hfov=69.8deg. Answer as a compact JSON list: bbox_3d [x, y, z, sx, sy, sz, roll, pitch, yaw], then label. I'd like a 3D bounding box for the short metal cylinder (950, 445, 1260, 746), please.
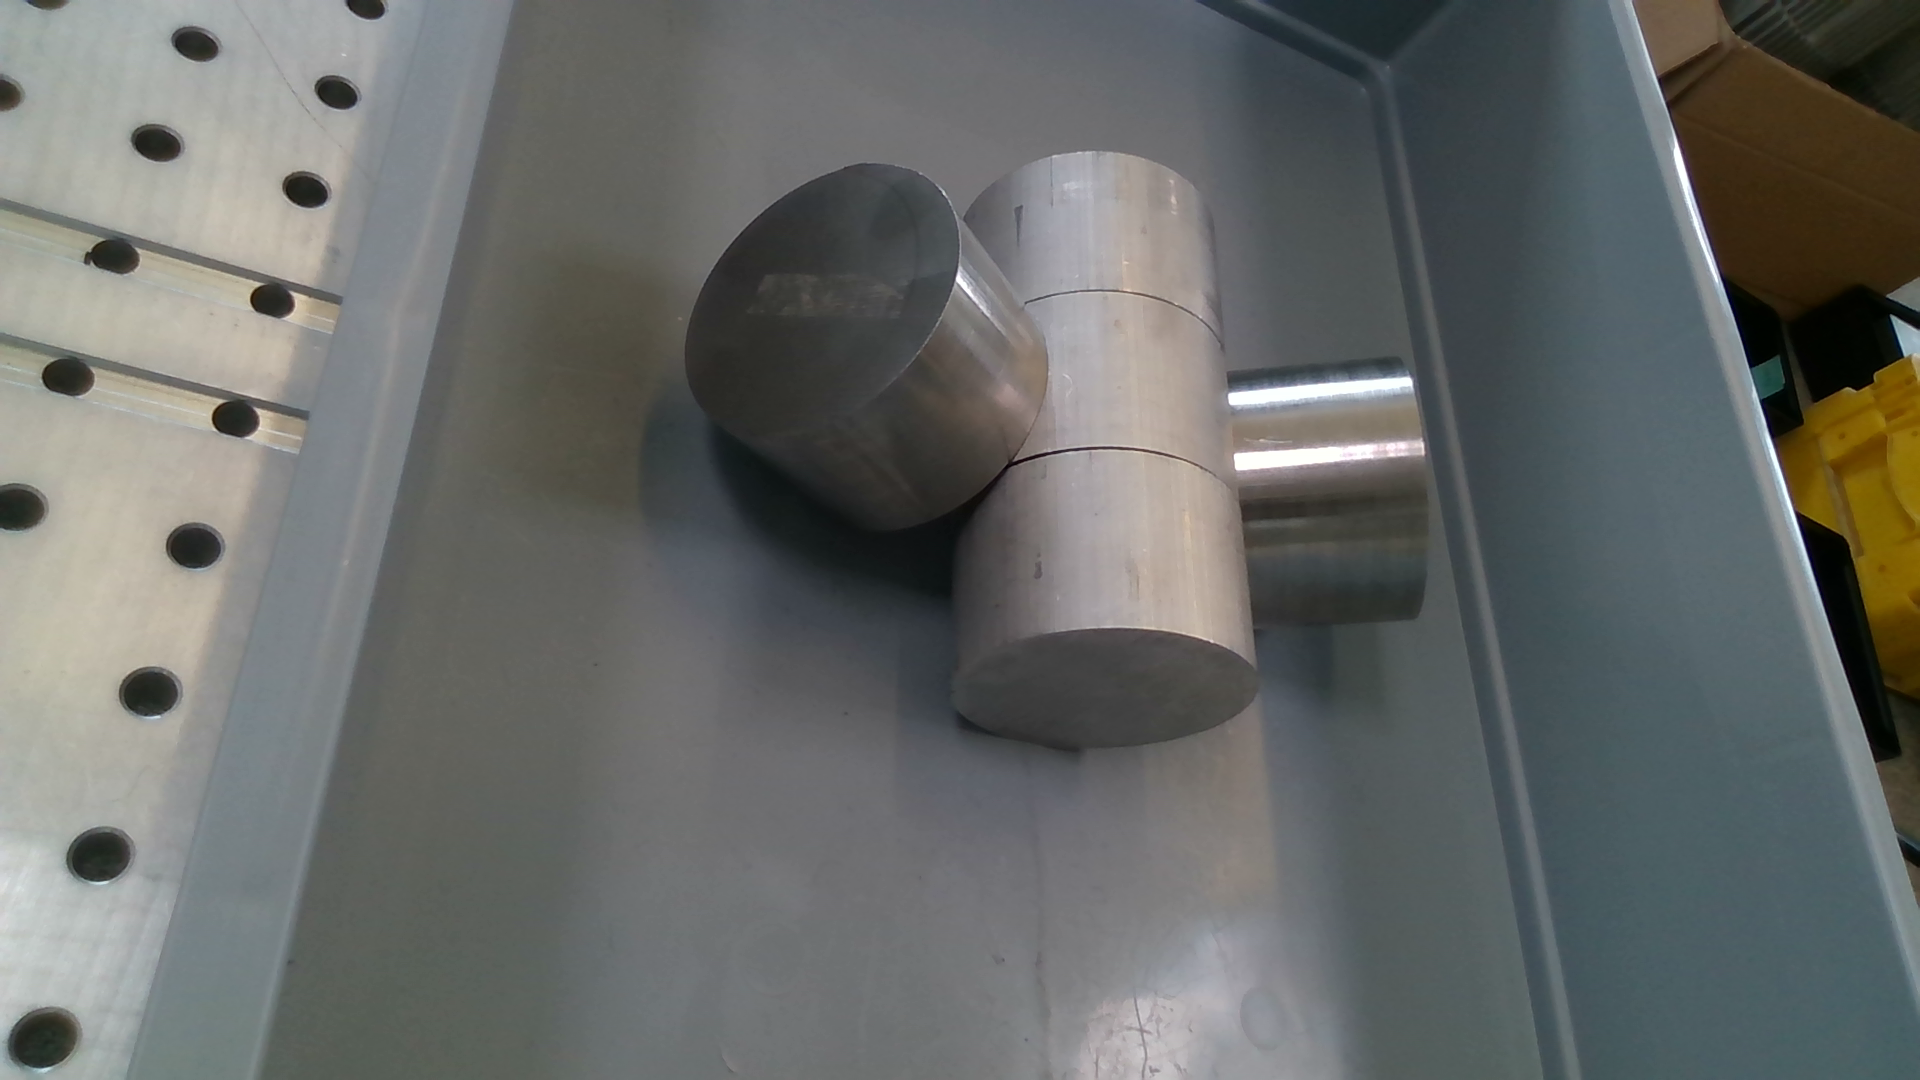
[{"bbox_3d":[0.038,0.017,0.370,0.080,0.080,0.050,15,58,-24],"label":"short metal cylinder"}]

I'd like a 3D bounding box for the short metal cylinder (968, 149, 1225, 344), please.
[{"bbox_3d":[0.039,-0.071,0.418,0.080,0.080,0.050,15,58,-24],"label":"short metal cylinder"}]

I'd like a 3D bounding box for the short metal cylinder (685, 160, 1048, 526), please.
[{"bbox_3d":[-0.024,-0.051,0.359,0.050,0.080,0.080,42,41,-51],"label":"short metal cylinder"}]

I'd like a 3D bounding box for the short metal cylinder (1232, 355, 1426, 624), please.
[{"bbox_3d":[0.109,-0.015,0.422,0.050,0.080,0.080,-3,61,9],"label":"short metal cylinder"}]

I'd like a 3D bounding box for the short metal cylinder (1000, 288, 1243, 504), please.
[{"bbox_3d":[0.038,-0.027,0.394,0.080,0.080,0.050,15,58,-24],"label":"short metal cylinder"}]
